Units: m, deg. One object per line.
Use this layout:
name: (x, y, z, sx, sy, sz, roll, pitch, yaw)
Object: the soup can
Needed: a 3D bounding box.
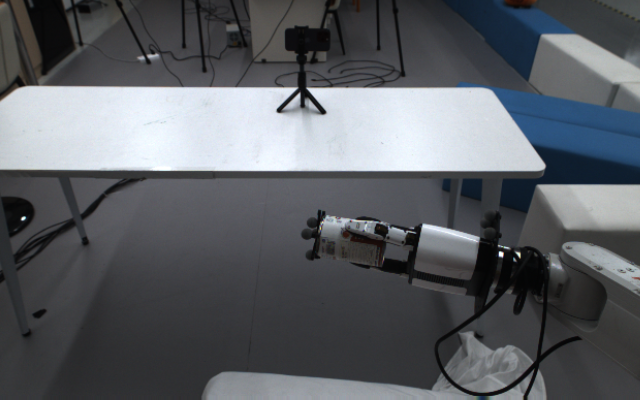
soup can: (0.053, 0.063, 0.748, 0.101, 0.067, 0.067, 8, 35, 9)
